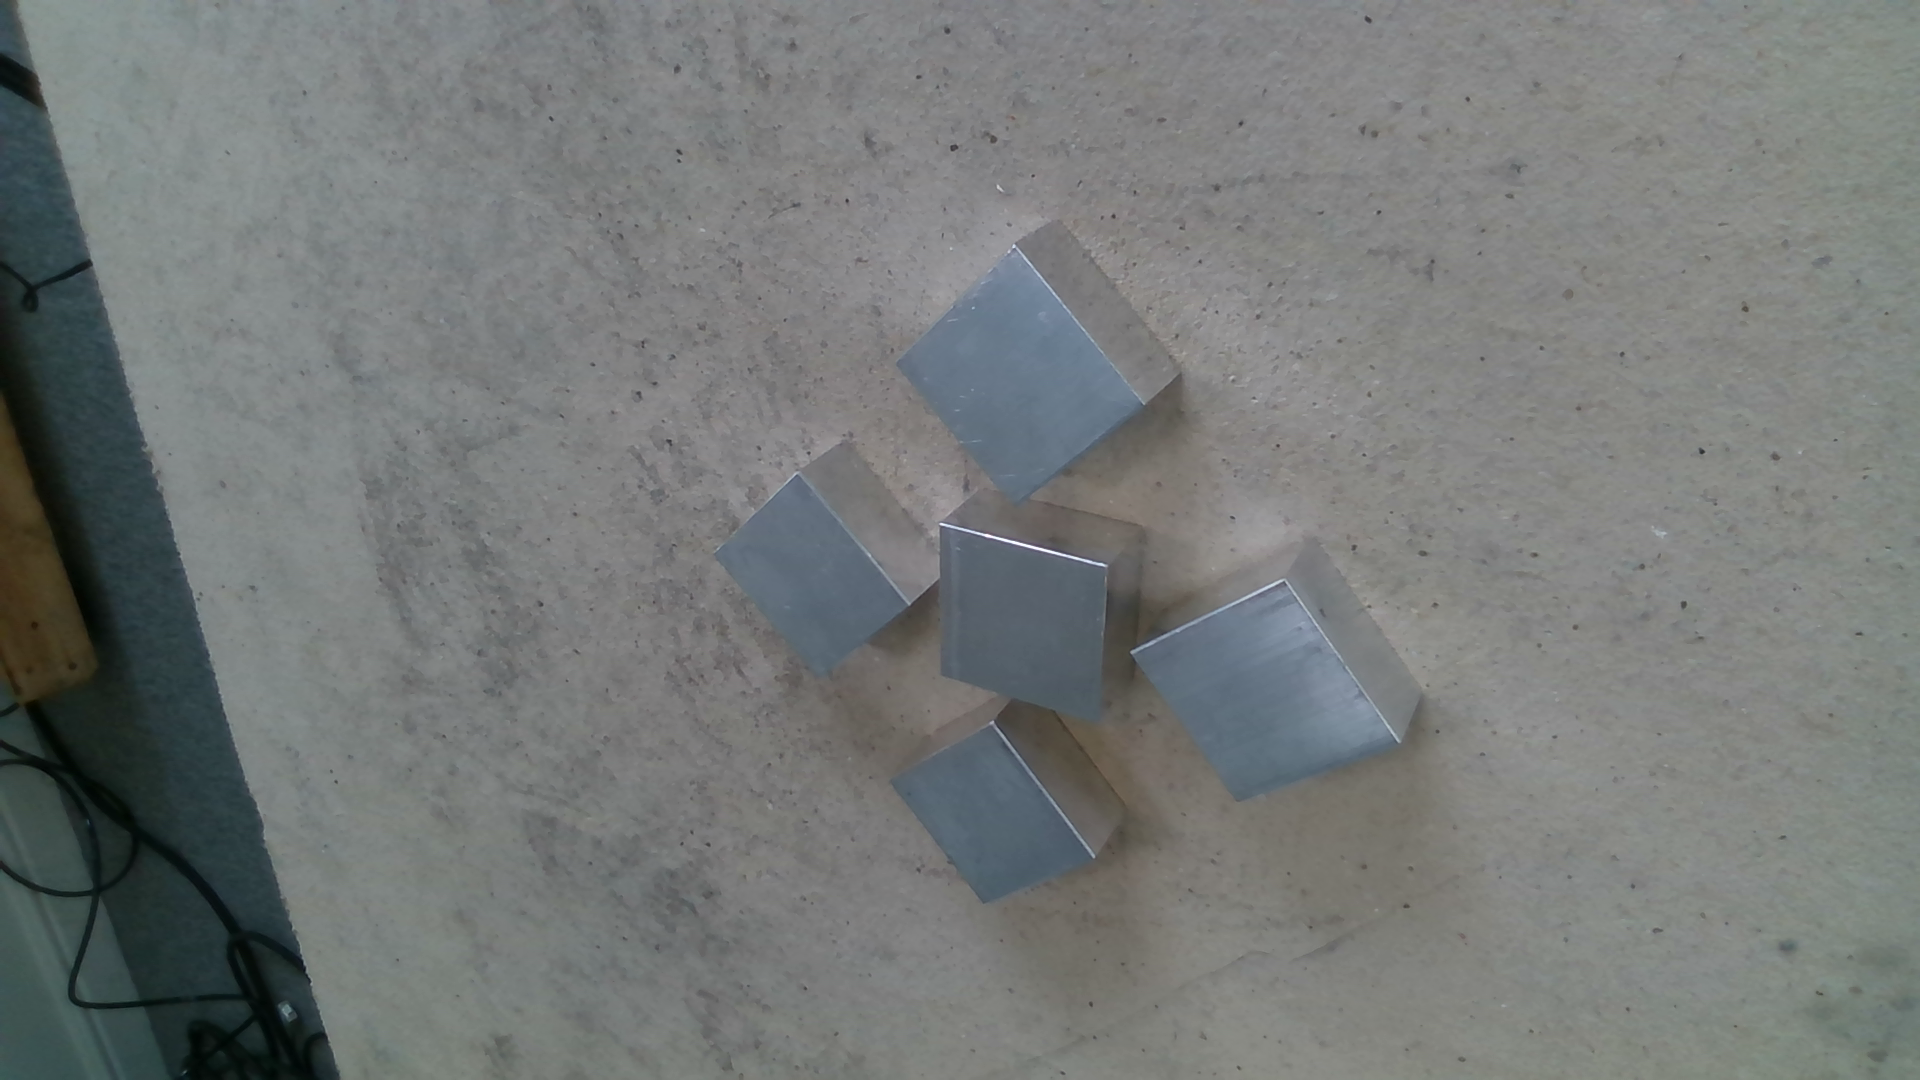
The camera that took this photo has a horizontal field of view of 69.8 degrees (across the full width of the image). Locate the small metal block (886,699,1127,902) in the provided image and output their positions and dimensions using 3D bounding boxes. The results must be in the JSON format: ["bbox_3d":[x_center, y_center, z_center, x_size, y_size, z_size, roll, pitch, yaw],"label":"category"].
[{"bbox_3d":[0.014,0.077,0.424,0.050,0.025,0.050,-34,94,39],"label":"small metal block"}]

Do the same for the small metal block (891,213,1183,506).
[{"bbox_3d":[0.019,-0.045,0.353,0.050,0.025,0.050,49,130,-2],"label":"small metal block"}]

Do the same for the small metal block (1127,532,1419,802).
[{"bbox_3d":[0.081,0.034,0.357,0.050,0.025,0.050,-31,97,38],"label":"small metal block"}]

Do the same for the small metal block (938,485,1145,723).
[{"bbox_3d":[0.022,0.017,0.384,0.050,0.025,0.050,15,121,25],"label":"small metal block"}]

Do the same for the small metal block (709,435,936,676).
[{"bbox_3d":[-0.040,0.005,0.417,0.050,0.025,0.050,50,130,-2],"label":"small metal block"}]
